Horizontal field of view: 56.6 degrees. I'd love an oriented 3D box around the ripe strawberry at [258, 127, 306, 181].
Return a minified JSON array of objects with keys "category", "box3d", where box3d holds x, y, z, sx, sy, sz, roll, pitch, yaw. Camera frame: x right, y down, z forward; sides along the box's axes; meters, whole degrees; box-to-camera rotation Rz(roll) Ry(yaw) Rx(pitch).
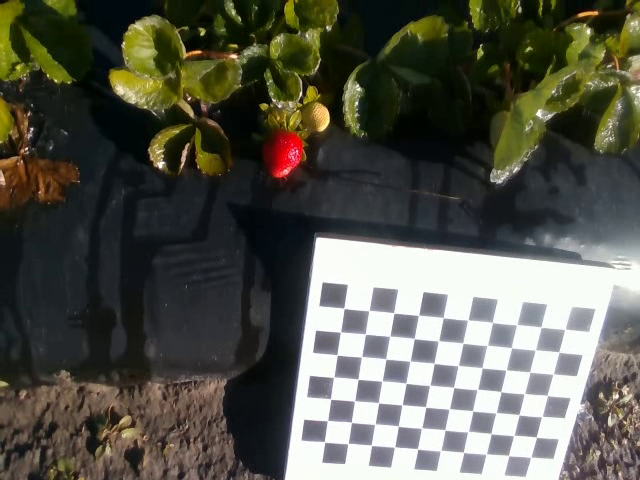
[{"category":"ripe strawberry","box3d":[-0.025,-0.055,0.405,0.039,0.040,0.039,0,42,7]}]
